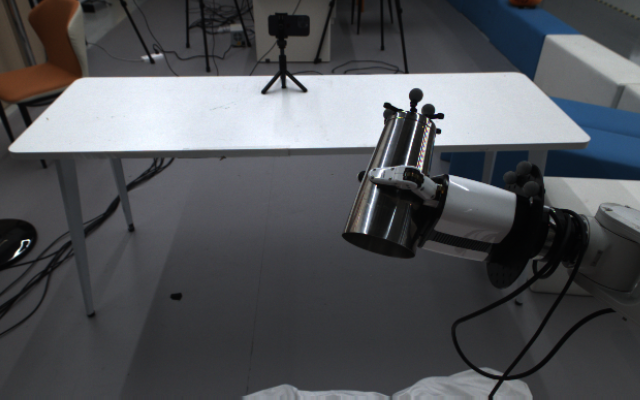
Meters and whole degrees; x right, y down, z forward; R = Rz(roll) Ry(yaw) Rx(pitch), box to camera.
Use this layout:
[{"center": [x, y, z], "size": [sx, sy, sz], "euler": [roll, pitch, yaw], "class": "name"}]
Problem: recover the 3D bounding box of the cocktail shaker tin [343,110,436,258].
[{"center": [0.095, -0.022, 0.610], "size": [0.093, 0.093, 0.170], "euler": [13, 74, 16], "class": "cocktail shaker tin"}]
